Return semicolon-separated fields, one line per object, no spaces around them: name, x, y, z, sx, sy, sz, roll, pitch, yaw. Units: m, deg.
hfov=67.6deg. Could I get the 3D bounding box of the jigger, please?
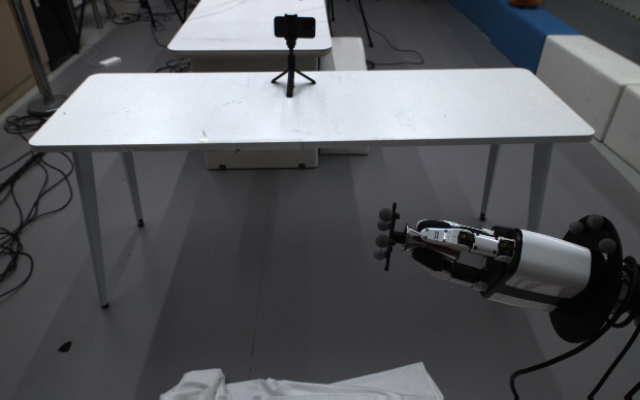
jigger;0.148;0.048;0.617;0.071;0.043;0.043;6;35;5
